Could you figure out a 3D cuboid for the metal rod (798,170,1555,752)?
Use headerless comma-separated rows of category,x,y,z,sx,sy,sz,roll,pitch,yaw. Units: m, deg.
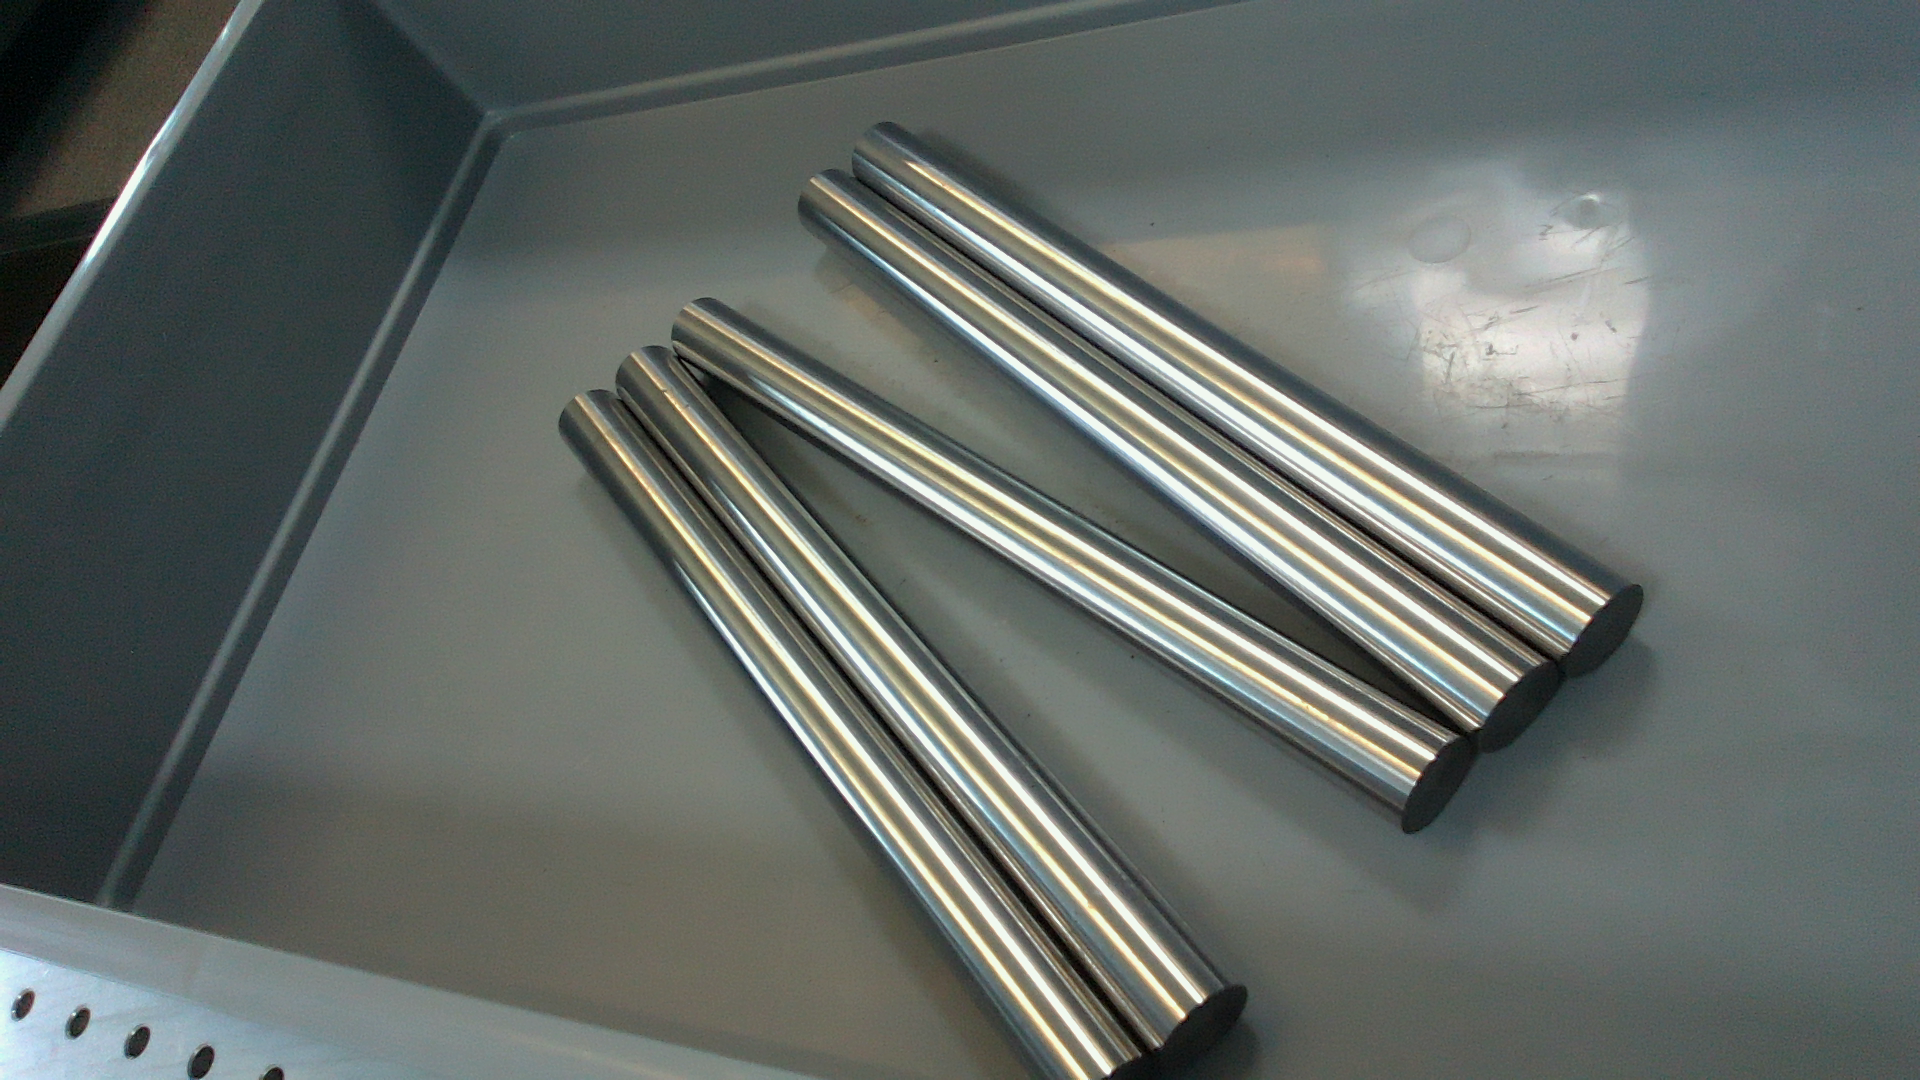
metal rod,0.038,-0.042,0.398,0.025,0.025,0.299,-45,51,-3

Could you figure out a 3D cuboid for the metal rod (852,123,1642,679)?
metal rod,0.057,-0.058,0.398,0.025,0.025,0.299,-45,51,-3

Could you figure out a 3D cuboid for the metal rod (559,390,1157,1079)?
metal rod,-0.049,0.039,0.395,0.025,0.025,0.299,-44,51,-2

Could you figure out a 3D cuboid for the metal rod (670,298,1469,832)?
metal rod,0.006,-0.010,0.396,0.299,0.025,0.025,33,80,38

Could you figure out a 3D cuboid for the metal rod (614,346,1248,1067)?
metal rod,-0.029,0.024,0.394,0.025,0.025,0.299,-44,51,-2
